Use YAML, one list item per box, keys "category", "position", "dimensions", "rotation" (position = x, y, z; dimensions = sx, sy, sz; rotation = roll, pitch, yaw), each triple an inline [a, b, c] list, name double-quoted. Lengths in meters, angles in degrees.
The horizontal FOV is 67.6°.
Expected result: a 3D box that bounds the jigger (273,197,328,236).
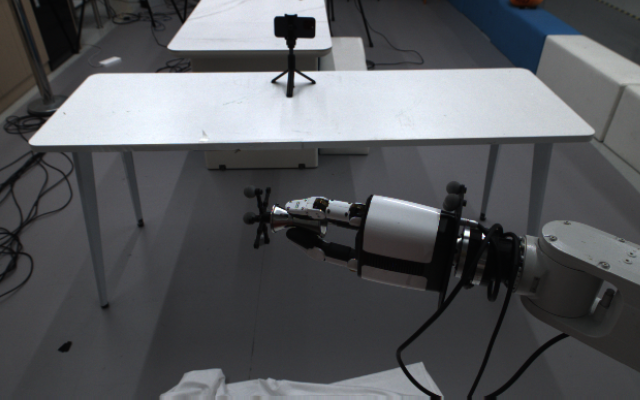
- category: "jigger"
  position: [-0.020, 0.022, 0.637]
  dimensions: [0.071, 0.043, 0.043]
  rotation: [3, 34, 12]
